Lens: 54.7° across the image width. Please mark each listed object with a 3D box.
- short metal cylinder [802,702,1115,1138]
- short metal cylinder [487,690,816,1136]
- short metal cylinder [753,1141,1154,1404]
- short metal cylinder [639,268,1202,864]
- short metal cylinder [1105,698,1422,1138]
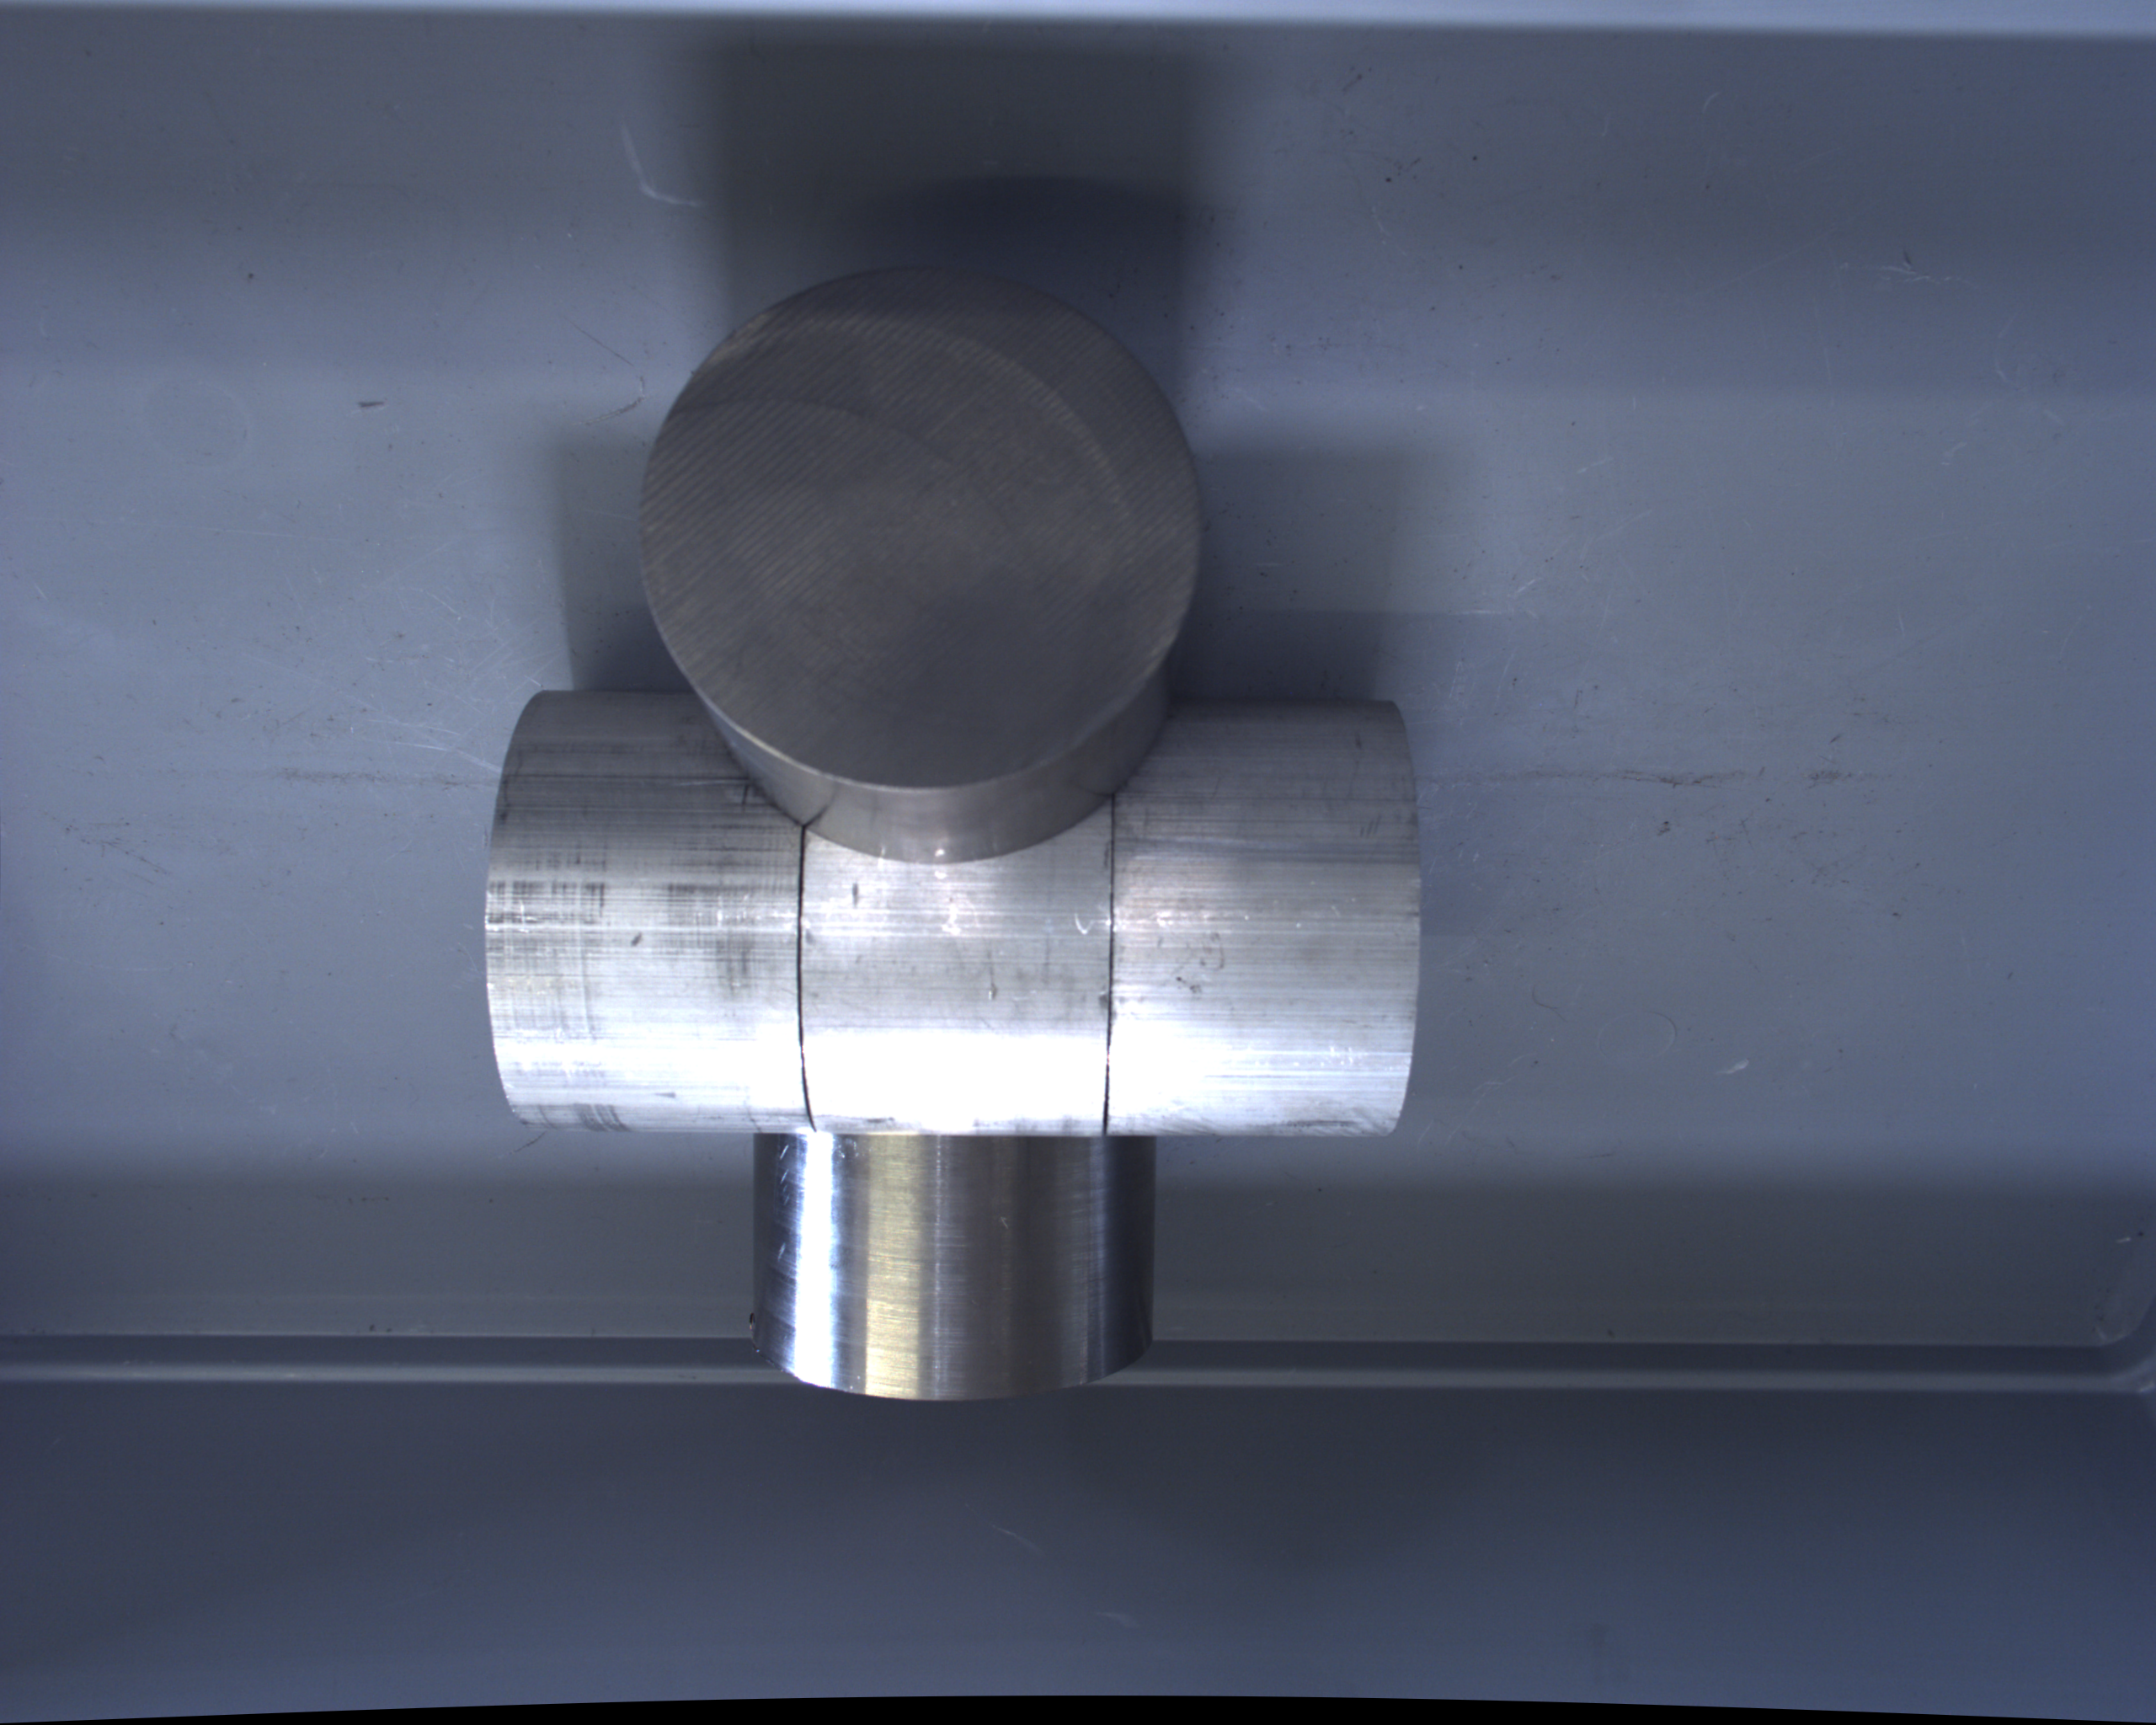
[{"bbox_3d":[-0.020,0.010,0.379,0.050,0.080,0.079,1,130,-1],"label":"short metal cylinder"},{"bbox_3d":[-0.071,0.009,0.378,0.050,0.080,0.079,1,130,-1],"label":"short metal cylinder"},{"bbox_3d":[-0.025,0.071,0.421,0.081,0.080,0.050,0,96,0],"label":"short metal cylinder"},{"bbox_3d":[-0.023,-0.044,0.324,0.081,0.080,0.050,1,168,-1],"label":"short metal cylinder"},{"bbox_3d":[0.031,0.010,0.380,0.050,0.080,0.079,1,130,-1],"label":"short metal cylinder"}]
